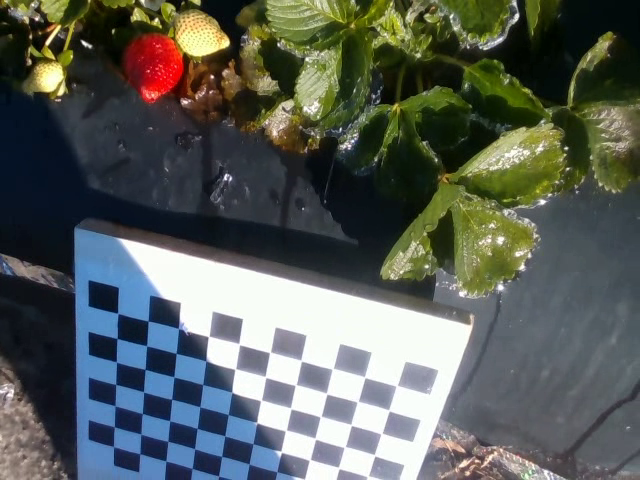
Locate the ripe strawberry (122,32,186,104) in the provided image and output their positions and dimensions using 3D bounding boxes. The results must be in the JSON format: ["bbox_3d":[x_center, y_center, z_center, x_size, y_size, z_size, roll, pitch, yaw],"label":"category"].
[{"bbox_3d":[-0.099,-0.098,0.360,0.040,0.053,0.042,-21,-42,16],"label":"ripe strawberry"}]
